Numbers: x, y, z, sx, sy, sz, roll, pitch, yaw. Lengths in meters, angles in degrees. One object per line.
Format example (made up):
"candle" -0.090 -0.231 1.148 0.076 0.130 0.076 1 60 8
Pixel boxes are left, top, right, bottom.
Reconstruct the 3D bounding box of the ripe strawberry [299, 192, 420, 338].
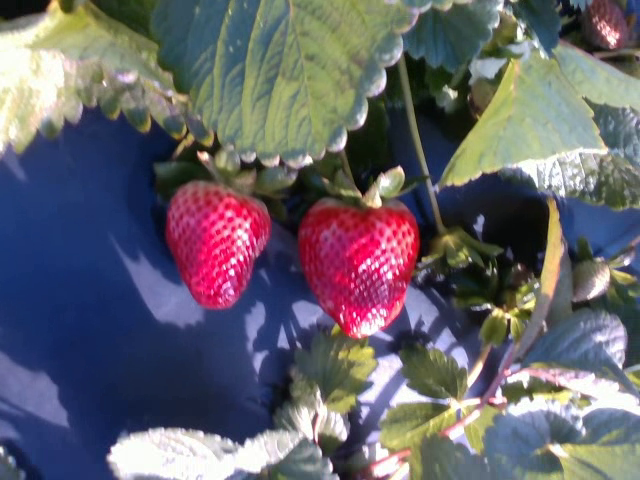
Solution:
"ripe strawberry" 0.016 0.012 0.222 0.052 0.058 0.046 -2 -5 8

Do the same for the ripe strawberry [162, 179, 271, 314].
"ripe strawberry" -0.036 0.003 0.206 0.043 0.052 0.036 -8 -4 15
